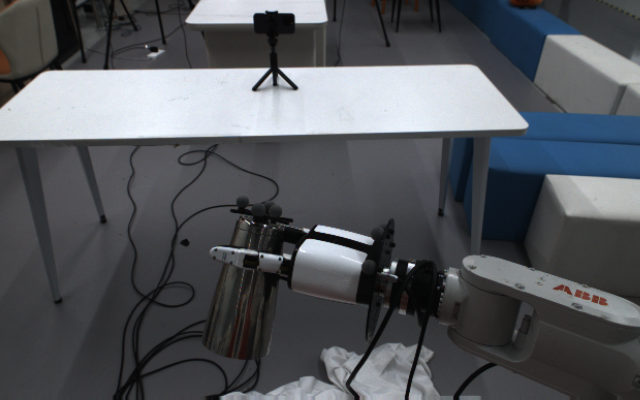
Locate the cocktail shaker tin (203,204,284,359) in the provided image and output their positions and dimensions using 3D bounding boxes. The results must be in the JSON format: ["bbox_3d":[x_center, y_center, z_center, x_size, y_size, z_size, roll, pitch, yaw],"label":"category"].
[{"bbox_3d":[-0.094,0.110,0.648,0.093,0.170,0.093,12,3,-1],"label":"cocktail shaker tin"}]
